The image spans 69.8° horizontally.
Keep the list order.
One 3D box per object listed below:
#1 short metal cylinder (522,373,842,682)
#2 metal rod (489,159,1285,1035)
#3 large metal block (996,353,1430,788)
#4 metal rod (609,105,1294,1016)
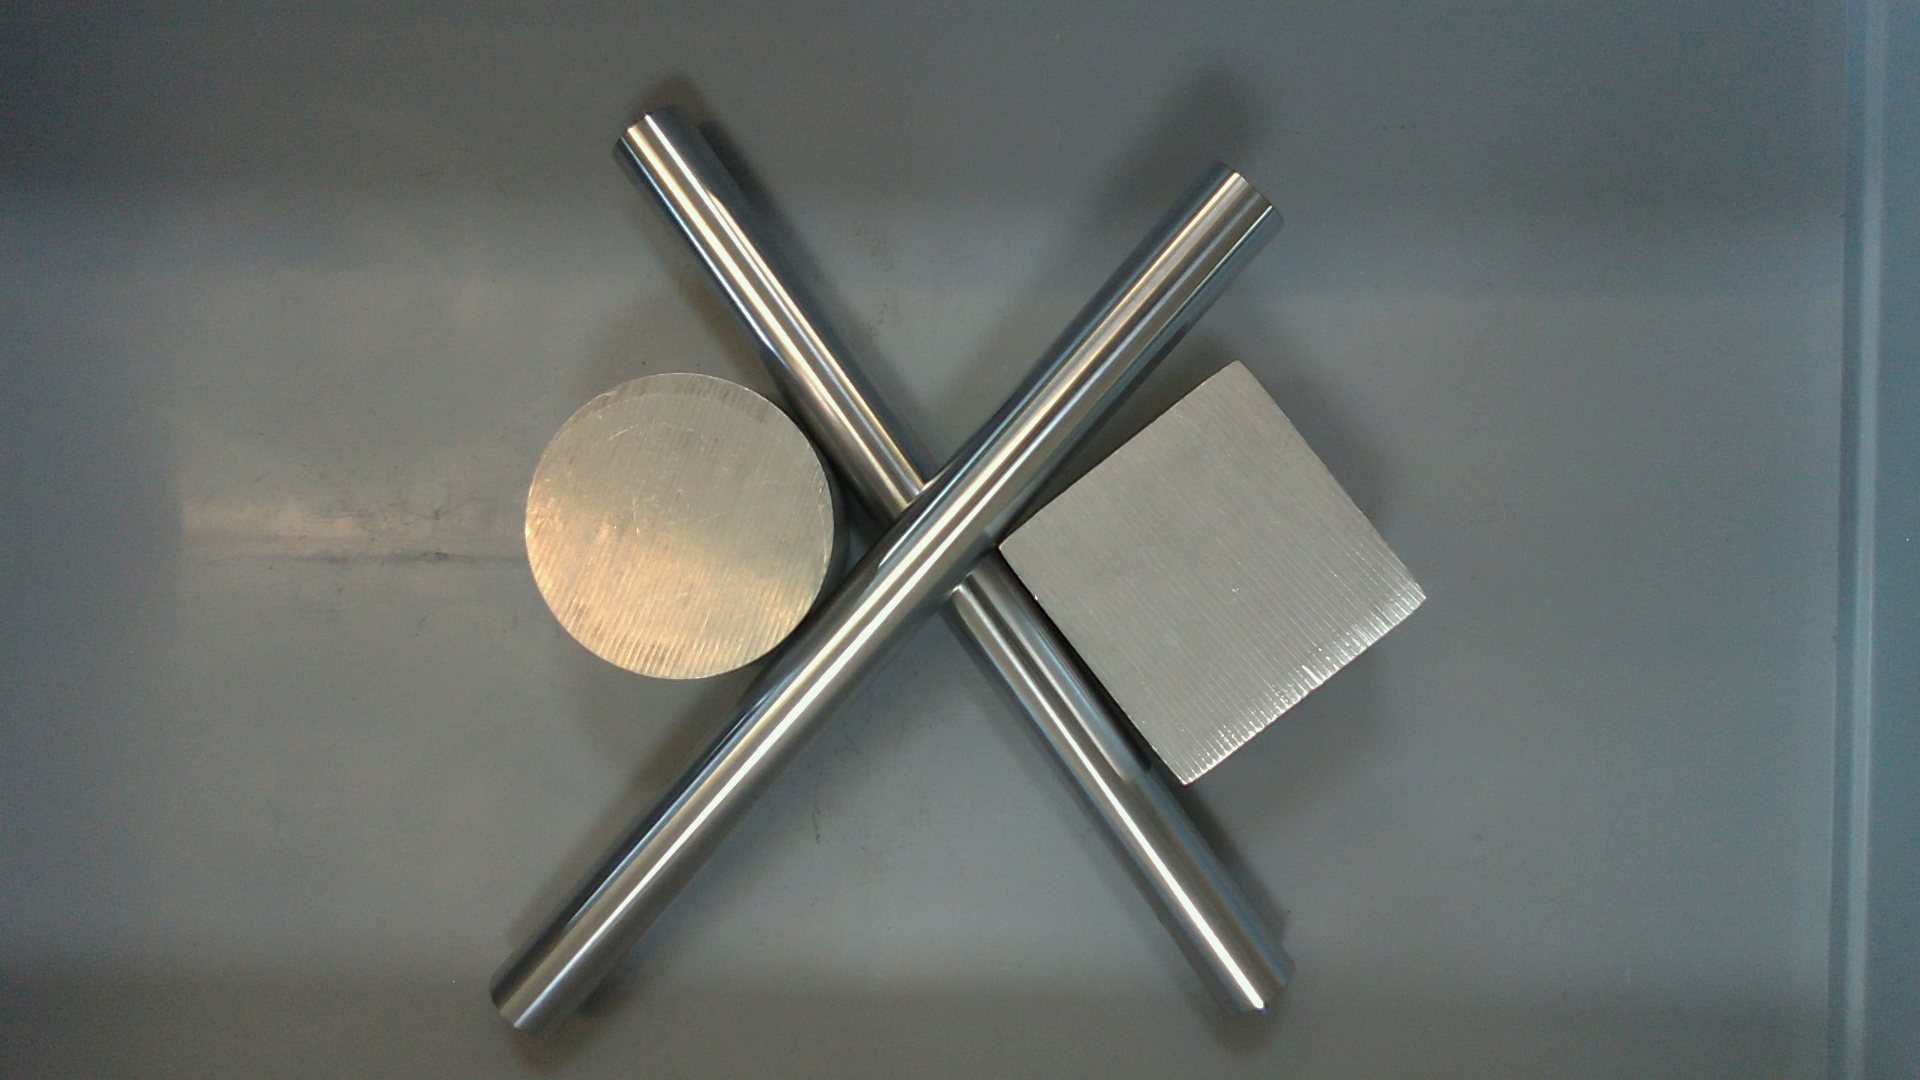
[{"bbox_3d":[-0.073,-0.003,0.381,0.080,0.050,0.080,0,90,0],"label":"short metal cylinder"},{"bbox_3d":[-0.025,0.022,0.373,0.025,0.025,0.300,42,98,0],"label":"metal rod"},{"bbox_3d":[0.066,0.008,0.381,0.080,0.050,0.080,-38,90,0],"label":"large metal block"},{"bbox_3d":[-0.002,0.006,0.393,0.025,0.025,0.300,-36,90,0],"label":"metal rod"}]
